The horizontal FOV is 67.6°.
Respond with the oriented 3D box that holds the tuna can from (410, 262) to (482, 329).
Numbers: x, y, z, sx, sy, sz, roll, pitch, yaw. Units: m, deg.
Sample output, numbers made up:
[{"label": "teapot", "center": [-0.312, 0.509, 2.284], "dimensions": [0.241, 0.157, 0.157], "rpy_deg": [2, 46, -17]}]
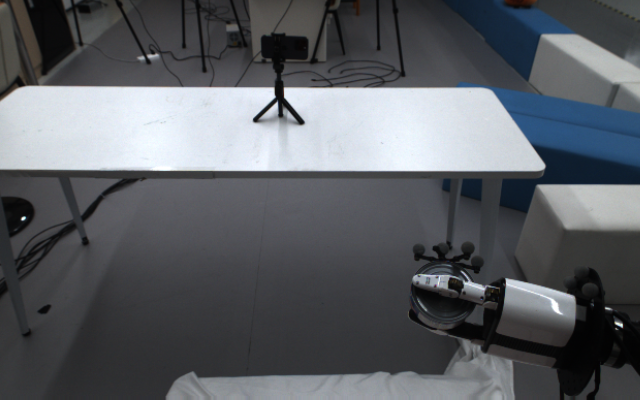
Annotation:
[{"label": "tuna can", "center": [0.164, 0.120, 0.640], "dimensions": [0.085, 0.034, 0.085], "rpy_deg": [-2, 57, 3]}]
